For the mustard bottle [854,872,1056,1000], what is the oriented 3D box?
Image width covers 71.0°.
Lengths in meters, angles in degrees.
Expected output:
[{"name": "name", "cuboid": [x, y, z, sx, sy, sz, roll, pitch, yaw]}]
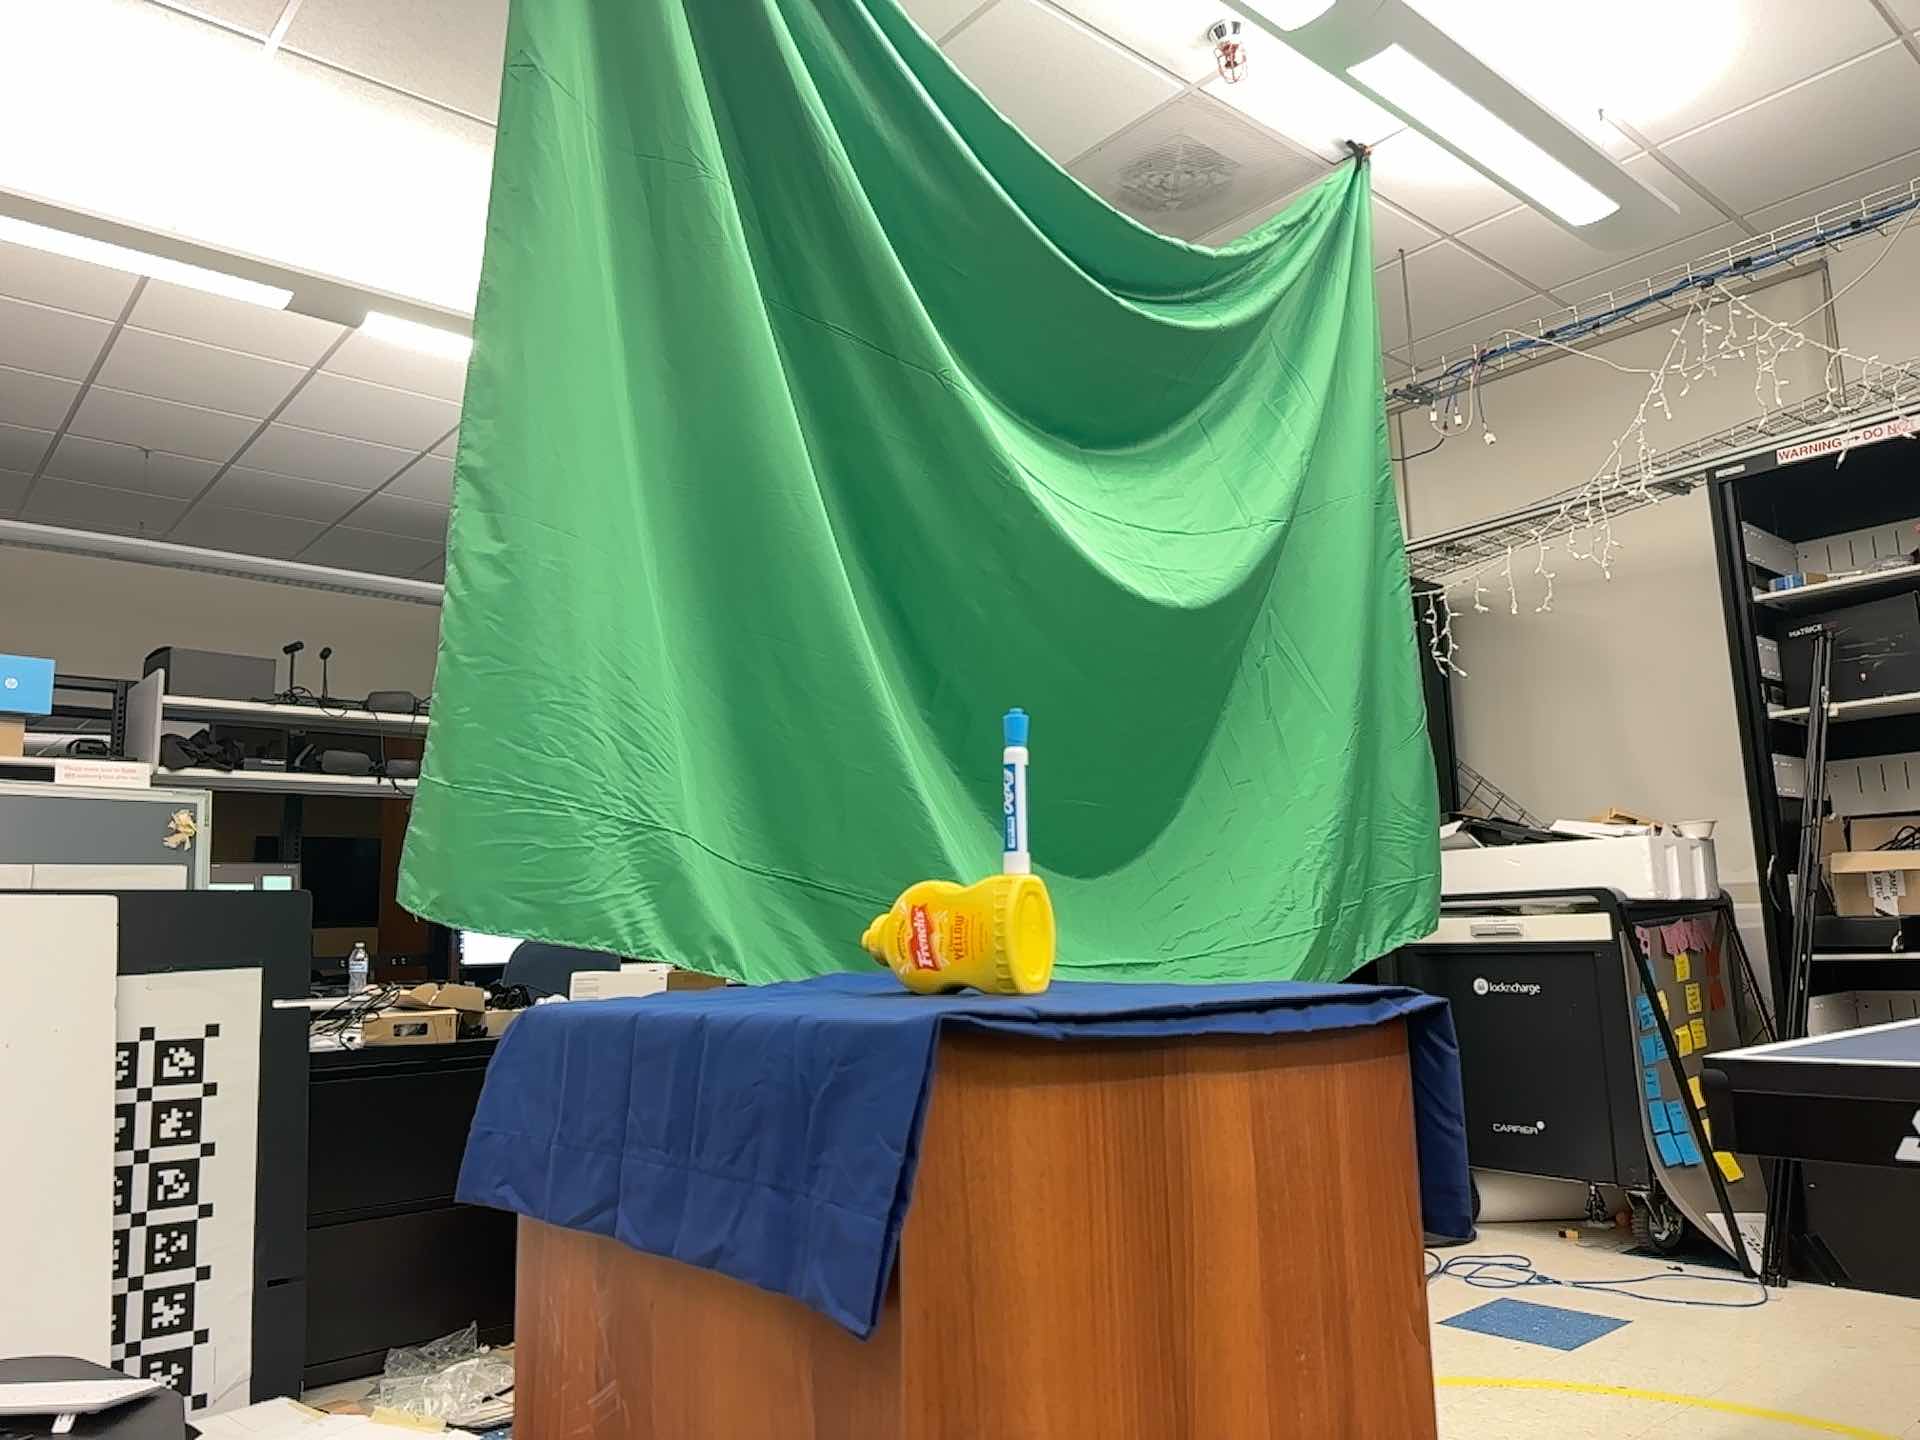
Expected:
[{"name": "mustard bottle", "cuboid": [-0.013, 0.164, 1.016, 0.184, 0.092, 0.054, -9, -5, 43]}]

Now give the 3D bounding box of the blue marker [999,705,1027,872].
[{"name": "blue marker", "cuboid": [0.038, 0.049, 0.979, 0.020, 0.121, 0.020, 0, -10, 0]}]
